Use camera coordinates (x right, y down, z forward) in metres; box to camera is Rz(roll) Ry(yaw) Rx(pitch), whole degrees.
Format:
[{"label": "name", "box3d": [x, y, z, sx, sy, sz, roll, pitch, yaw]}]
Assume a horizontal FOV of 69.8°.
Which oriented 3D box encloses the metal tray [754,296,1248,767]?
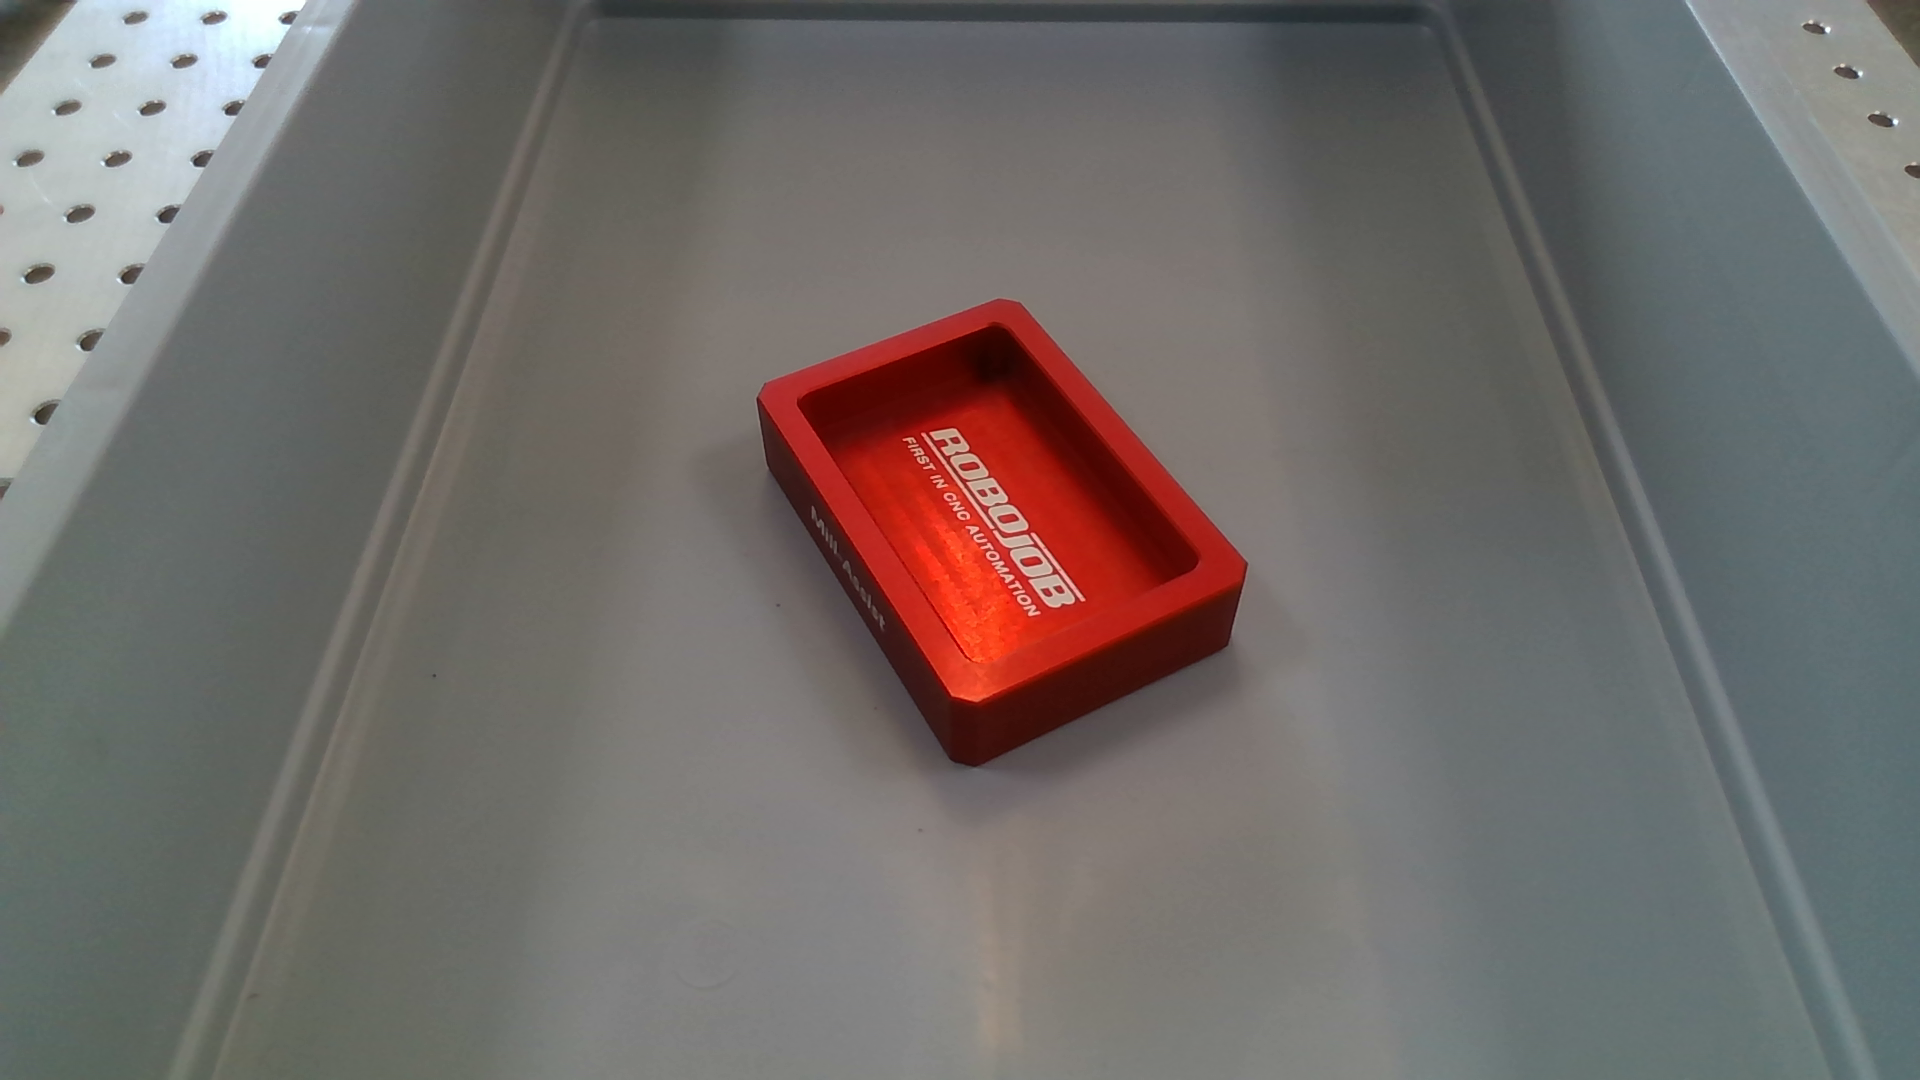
[{"label": "metal tray", "box3d": [0.008, -0.009, 0.394, 0.090, 0.030, 0.130, -23, 54, -18]}]
